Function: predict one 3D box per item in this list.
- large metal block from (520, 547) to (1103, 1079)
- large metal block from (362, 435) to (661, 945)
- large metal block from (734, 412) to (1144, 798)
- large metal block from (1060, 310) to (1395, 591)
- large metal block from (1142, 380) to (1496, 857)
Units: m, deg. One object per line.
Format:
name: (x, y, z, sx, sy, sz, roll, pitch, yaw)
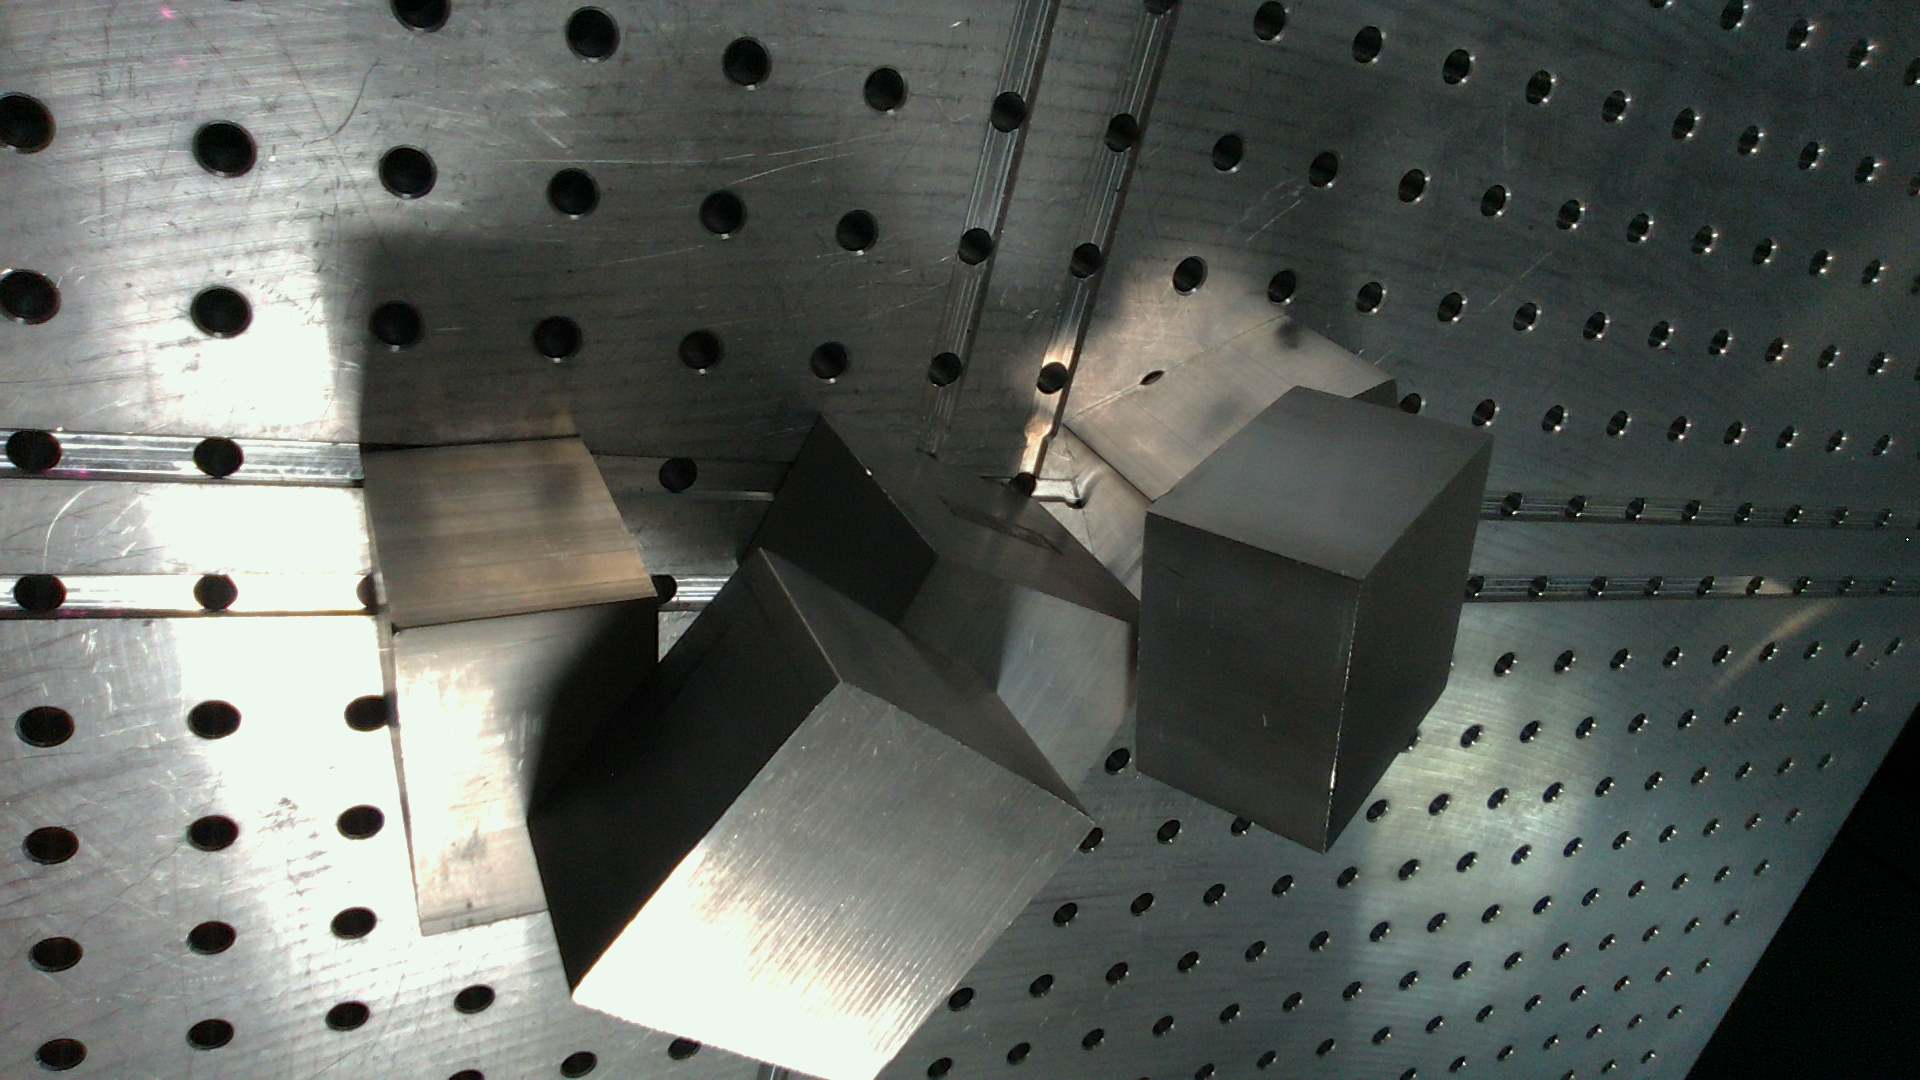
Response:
large metal block: (-0.031, 0.062, 0.292, 0.080, 0.050, 0.080, -49, 128, 6)
large metal block: (-0.105, 0.030, 0.318, 0.050, 0.080, 0.080, -6, 121, -25)
large metal block: (-0.003, 0.017, 0.365, 0.080, 0.080, 0.050, 20, 108, -36)
large metal block: (0.085, -0.010, 0.416, 0.080, 0.050, 0.080, -27, 128, -11)
large metal block: (0.089, 0.017, 0.346, 0.080, 0.050, 0.080, -37, 136, -42)
